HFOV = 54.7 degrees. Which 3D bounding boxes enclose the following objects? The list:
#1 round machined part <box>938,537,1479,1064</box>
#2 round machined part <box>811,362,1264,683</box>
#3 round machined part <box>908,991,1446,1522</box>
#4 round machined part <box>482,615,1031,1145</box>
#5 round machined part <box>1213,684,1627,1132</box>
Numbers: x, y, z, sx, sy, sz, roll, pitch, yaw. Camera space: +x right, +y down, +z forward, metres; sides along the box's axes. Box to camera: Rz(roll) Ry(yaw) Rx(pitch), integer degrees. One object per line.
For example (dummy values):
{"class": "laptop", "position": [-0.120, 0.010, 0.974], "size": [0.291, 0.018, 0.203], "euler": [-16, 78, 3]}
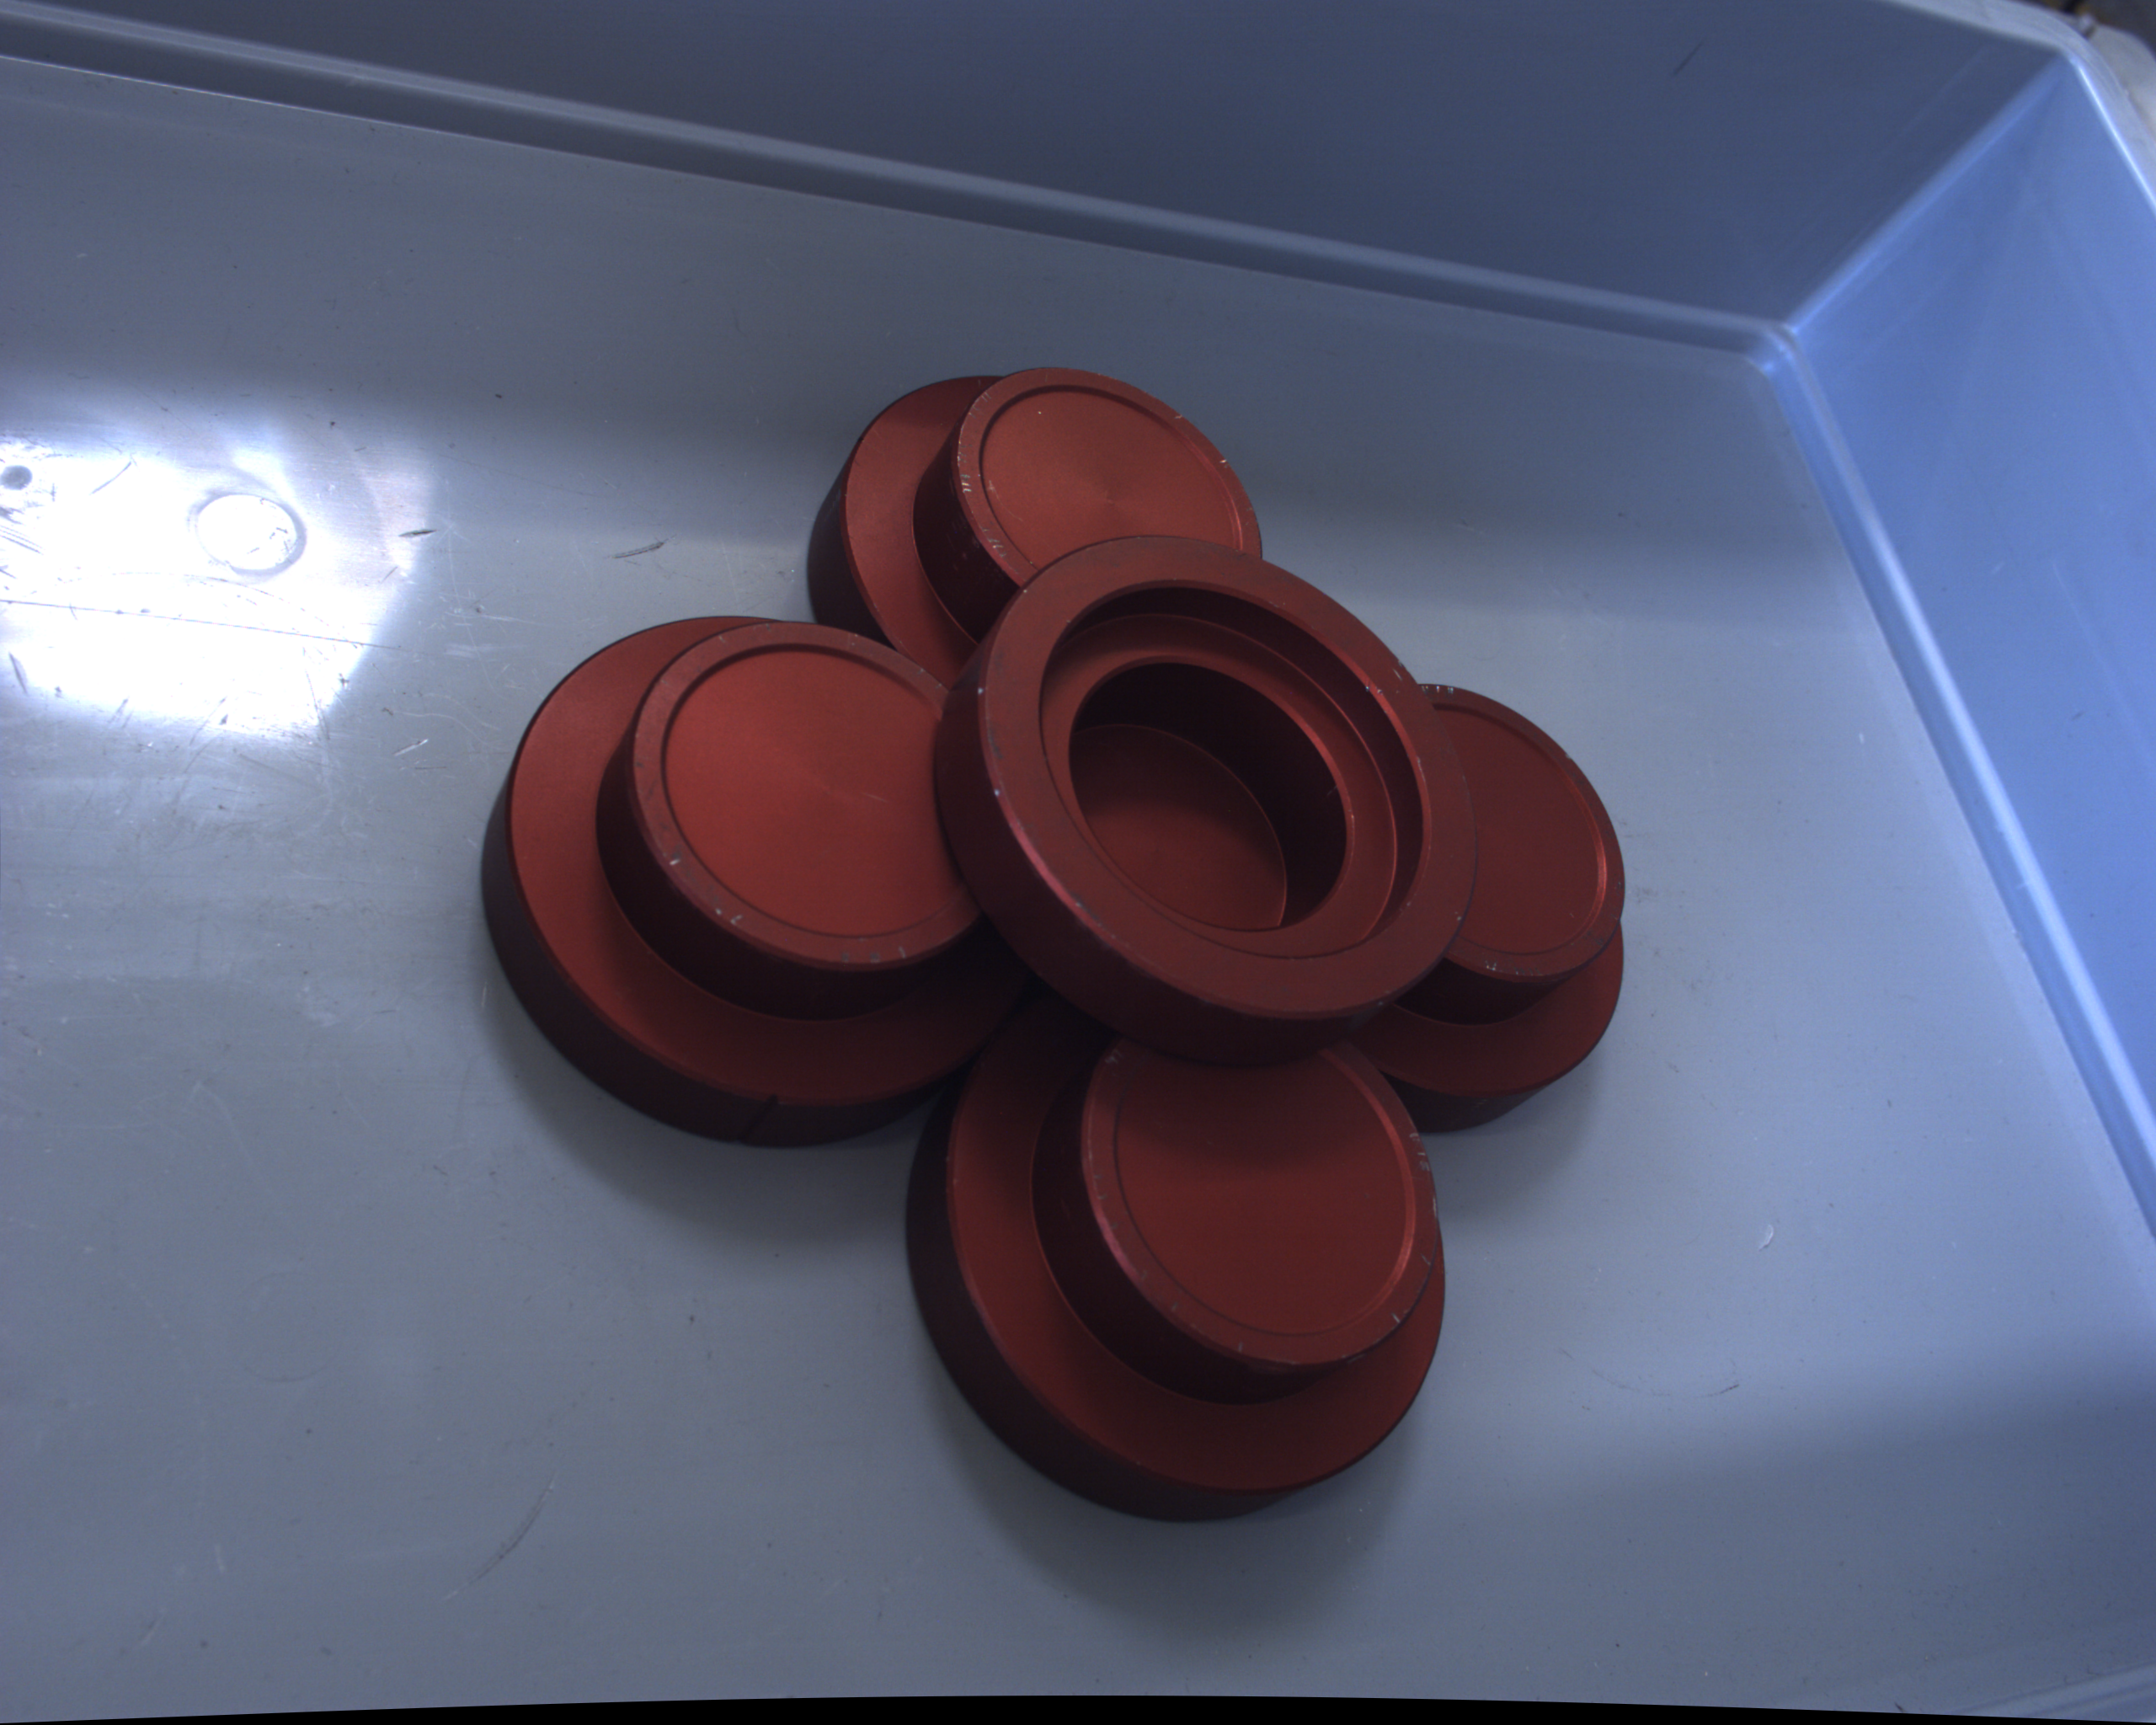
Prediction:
{"class": "round machined part", "position": [0.020, -0.008, 0.381], "size": [0.099, 0.042, 0.098], "euler": [14, 56, -21]}
{"class": "round machined part", "position": [-0.001, -0.063, 0.428], "size": [0.099, 0.042, 0.098], "euler": [14, 56, -21]}
{"class": "round machined part", "position": [0.024, 0.061, 0.367], "size": [0.099, 0.042, 0.098], "euler": [15, 54, -21]}
{"class": "round machined part", "position": [-0.050, -0.003, 0.366], "size": [0.099, 0.042, 0.098], "euler": [14, 56, -21]}
{"class": "round machined part", "position": [0.072, 0.002, 0.429], "size": [0.099, 0.042, 0.098], "euler": [14, 56, -21]}
